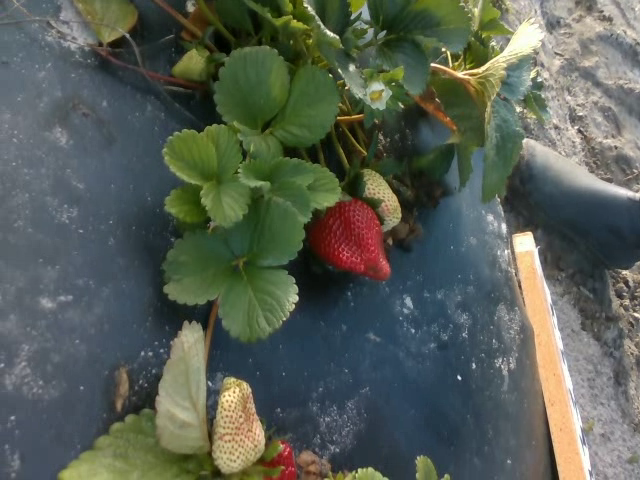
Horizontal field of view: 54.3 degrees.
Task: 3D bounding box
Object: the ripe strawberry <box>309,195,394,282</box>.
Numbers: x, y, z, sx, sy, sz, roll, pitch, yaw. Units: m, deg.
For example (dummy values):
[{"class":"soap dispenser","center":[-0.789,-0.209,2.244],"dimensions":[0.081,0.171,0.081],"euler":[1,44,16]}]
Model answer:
[{"class":"ripe strawberry","center":[0.023,0.004,0.401],"dimensions":[0.057,0.058,0.071],"euler":[-28,34,0]}]
